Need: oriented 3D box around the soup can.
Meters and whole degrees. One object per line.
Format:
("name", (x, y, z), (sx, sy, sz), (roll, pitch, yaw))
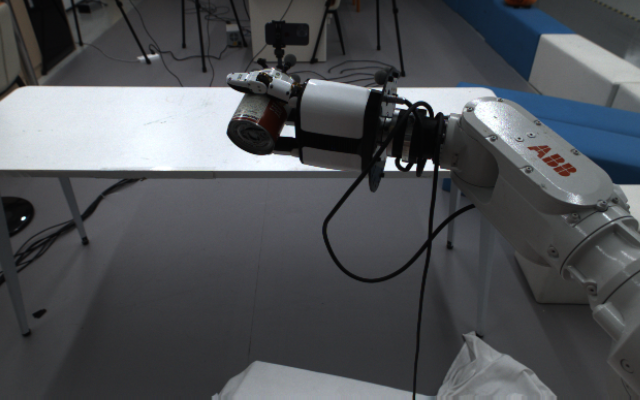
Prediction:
("soup can", (-0.076, -0.121, 0.656), (0.067, 0.067, 0.101), (12, 59, 14))
